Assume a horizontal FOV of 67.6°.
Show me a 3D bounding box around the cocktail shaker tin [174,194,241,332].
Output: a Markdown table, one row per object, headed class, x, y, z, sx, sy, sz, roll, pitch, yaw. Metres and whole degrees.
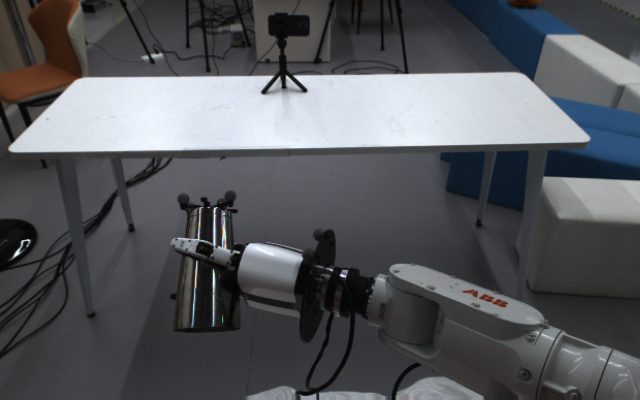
| class | x | y | z | sx | sy | sz | roll | pitch | yaw |
| --- | --- | --- | --- | --- | --- | --- | --- | --- | --- |
| cocktail shaker tin | -0.162 | 0.101 | 0.695 | 0.093 | 0.093 | 0.170 | -2 | 70 | -5 |
